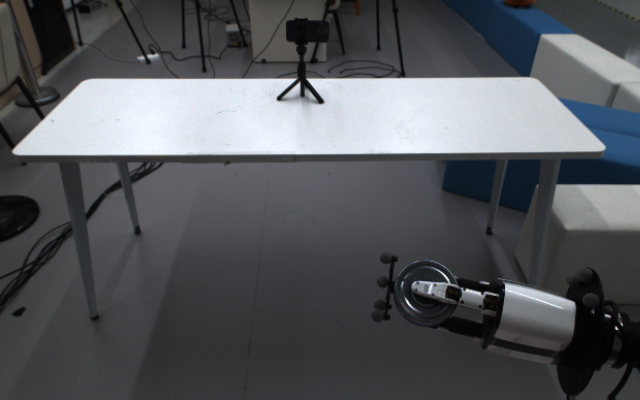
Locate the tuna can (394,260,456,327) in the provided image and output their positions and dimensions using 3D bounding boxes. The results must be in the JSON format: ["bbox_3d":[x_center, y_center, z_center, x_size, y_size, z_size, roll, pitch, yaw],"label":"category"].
[{"bbox_3d":[0.145,0.123,0.648,0.085,0.034,0.085,-2,68,6],"label":"tuna can"}]
